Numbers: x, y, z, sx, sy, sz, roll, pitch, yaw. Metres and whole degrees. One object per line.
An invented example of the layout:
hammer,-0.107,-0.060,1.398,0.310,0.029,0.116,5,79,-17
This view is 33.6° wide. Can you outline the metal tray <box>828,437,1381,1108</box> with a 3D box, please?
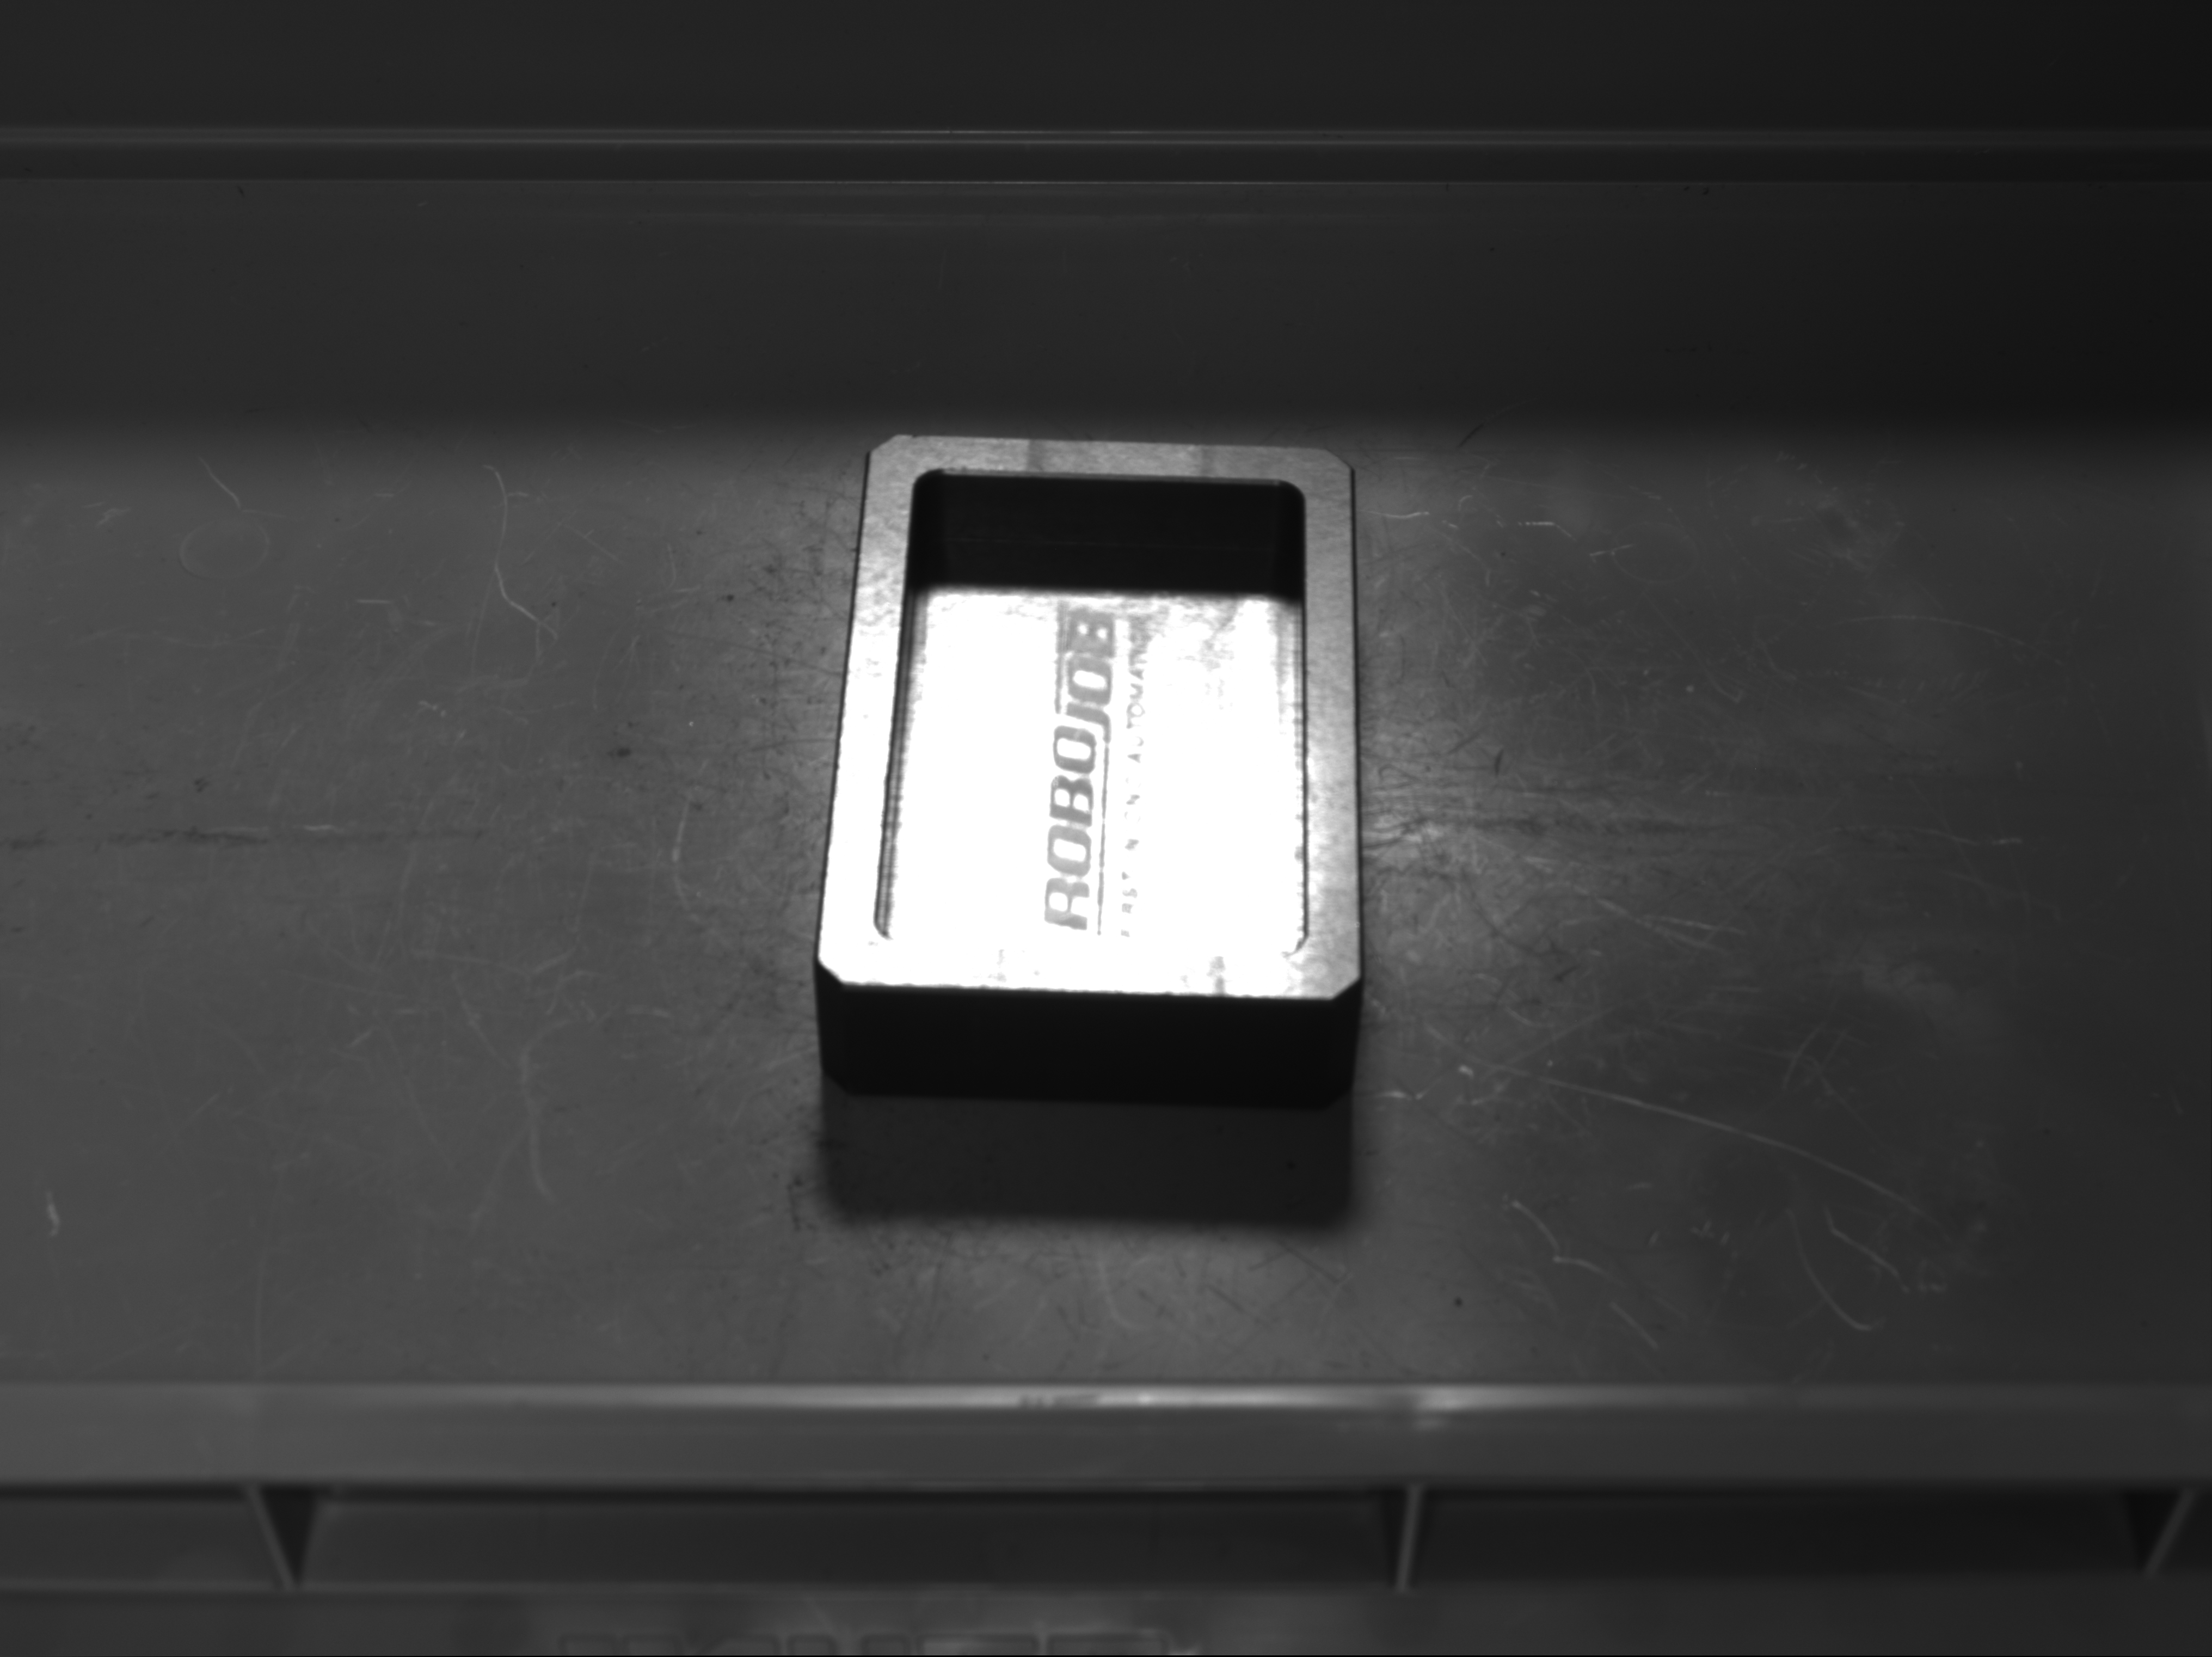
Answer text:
metal tray,0.002,-0.013,0.646,0.090,0.030,0.130,2,50,1
